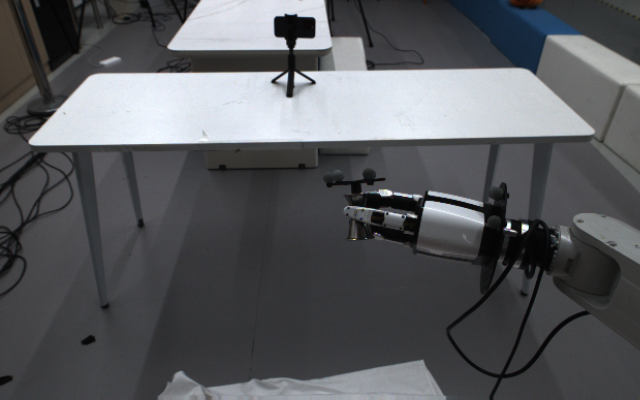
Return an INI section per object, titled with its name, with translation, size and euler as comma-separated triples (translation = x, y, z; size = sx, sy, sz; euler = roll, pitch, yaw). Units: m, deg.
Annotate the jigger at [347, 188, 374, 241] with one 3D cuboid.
[jigger]
translation = 0.057, 0.023, 0.719
size = 0.043, 0.071, 0.043
euler = -4, 1, 0
